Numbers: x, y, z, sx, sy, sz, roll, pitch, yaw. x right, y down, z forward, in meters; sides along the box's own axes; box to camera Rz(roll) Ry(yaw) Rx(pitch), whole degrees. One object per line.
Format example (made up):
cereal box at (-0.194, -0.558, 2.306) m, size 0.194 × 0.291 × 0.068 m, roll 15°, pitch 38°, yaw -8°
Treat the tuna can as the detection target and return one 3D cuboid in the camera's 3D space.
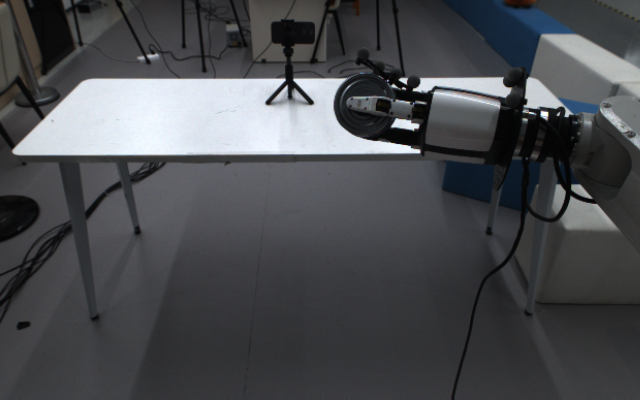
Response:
tuna can at (0.066, -0.123, 0.660) m, size 0.085 × 0.085 × 0.034 m, roll 12°, pitch 4°, yaw 15°
